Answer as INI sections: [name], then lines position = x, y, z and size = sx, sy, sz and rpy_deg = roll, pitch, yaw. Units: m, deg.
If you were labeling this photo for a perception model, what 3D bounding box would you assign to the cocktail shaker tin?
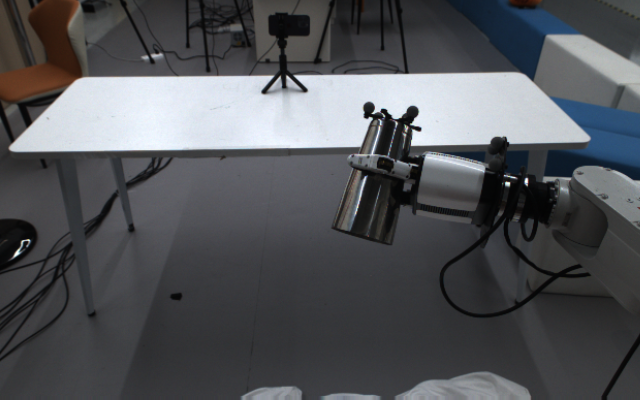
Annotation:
[cocktail shaker tin]
position = 0.083, -0.029, 0.710
size = 0.093, 0.170, 0.093
rpy_deg = 15, -6, 2
